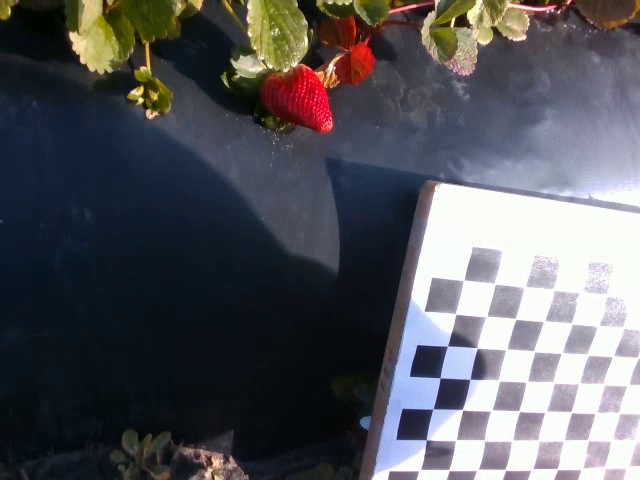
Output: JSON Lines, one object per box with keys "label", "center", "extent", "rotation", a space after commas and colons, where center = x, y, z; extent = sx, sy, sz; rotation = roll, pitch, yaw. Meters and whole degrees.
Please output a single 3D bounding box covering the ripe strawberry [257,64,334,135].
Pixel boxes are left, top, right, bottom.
{"label": "ripe strawberry", "center": [-0.011, -0.082, 0.368], "extent": [0.040, 0.056, 0.041], "rotation": [-41, -22, -1]}
